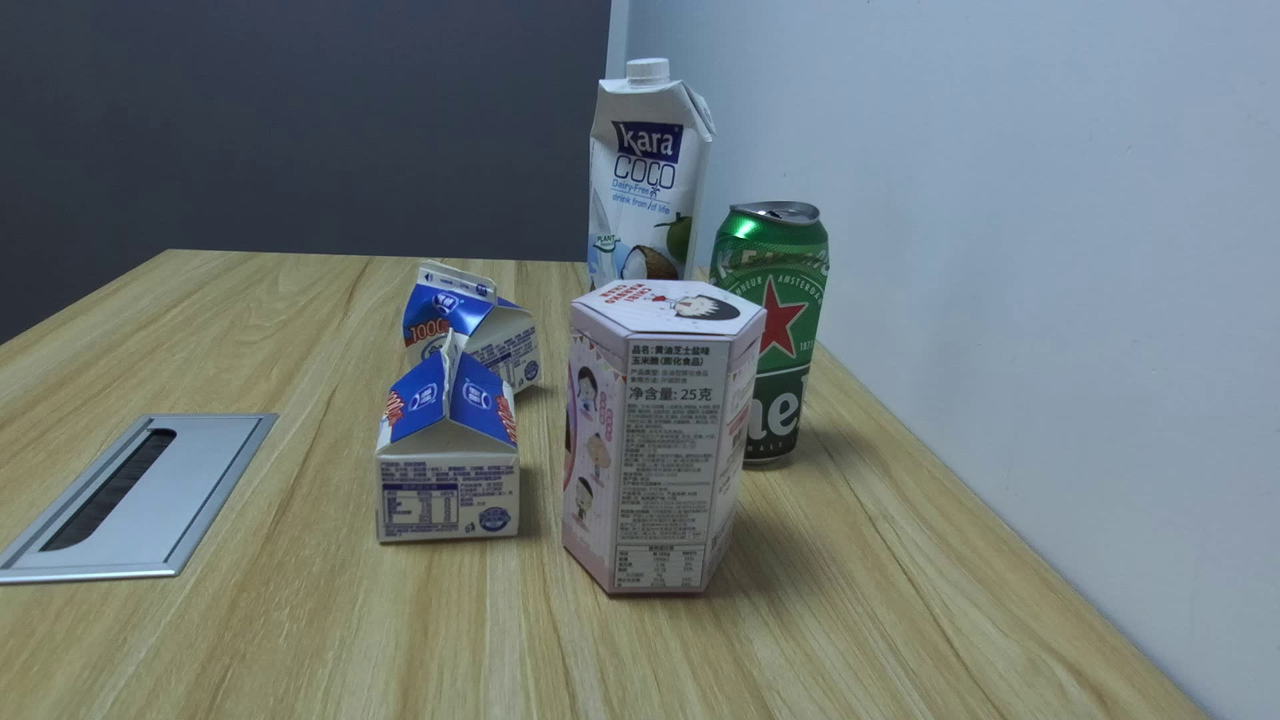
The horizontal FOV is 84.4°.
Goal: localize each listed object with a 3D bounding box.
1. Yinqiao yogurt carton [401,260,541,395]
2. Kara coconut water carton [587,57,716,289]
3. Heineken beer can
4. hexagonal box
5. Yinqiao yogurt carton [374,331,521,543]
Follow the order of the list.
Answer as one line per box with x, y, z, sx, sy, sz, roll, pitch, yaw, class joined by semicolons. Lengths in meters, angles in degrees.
-0.123;-0.020;0.508;0.077;0.094;0.071;16;29;32;Yinqiao yogurt carton
0.002;-0.101;0.537;0.114;0.238;0.069;17;27;29;Kara coconut water carton
0.080;-0.016;0.452;0.077;0.164;0.066;3;22;2;Heineken beer can
0.008;0.037;0.352;0.083;0.136;0.091;14;23;21;hexagonal box
-0.103;0.038;0.380;0.074;0.092;0.075;0;25;-13;Yinqiao yogurt carton
